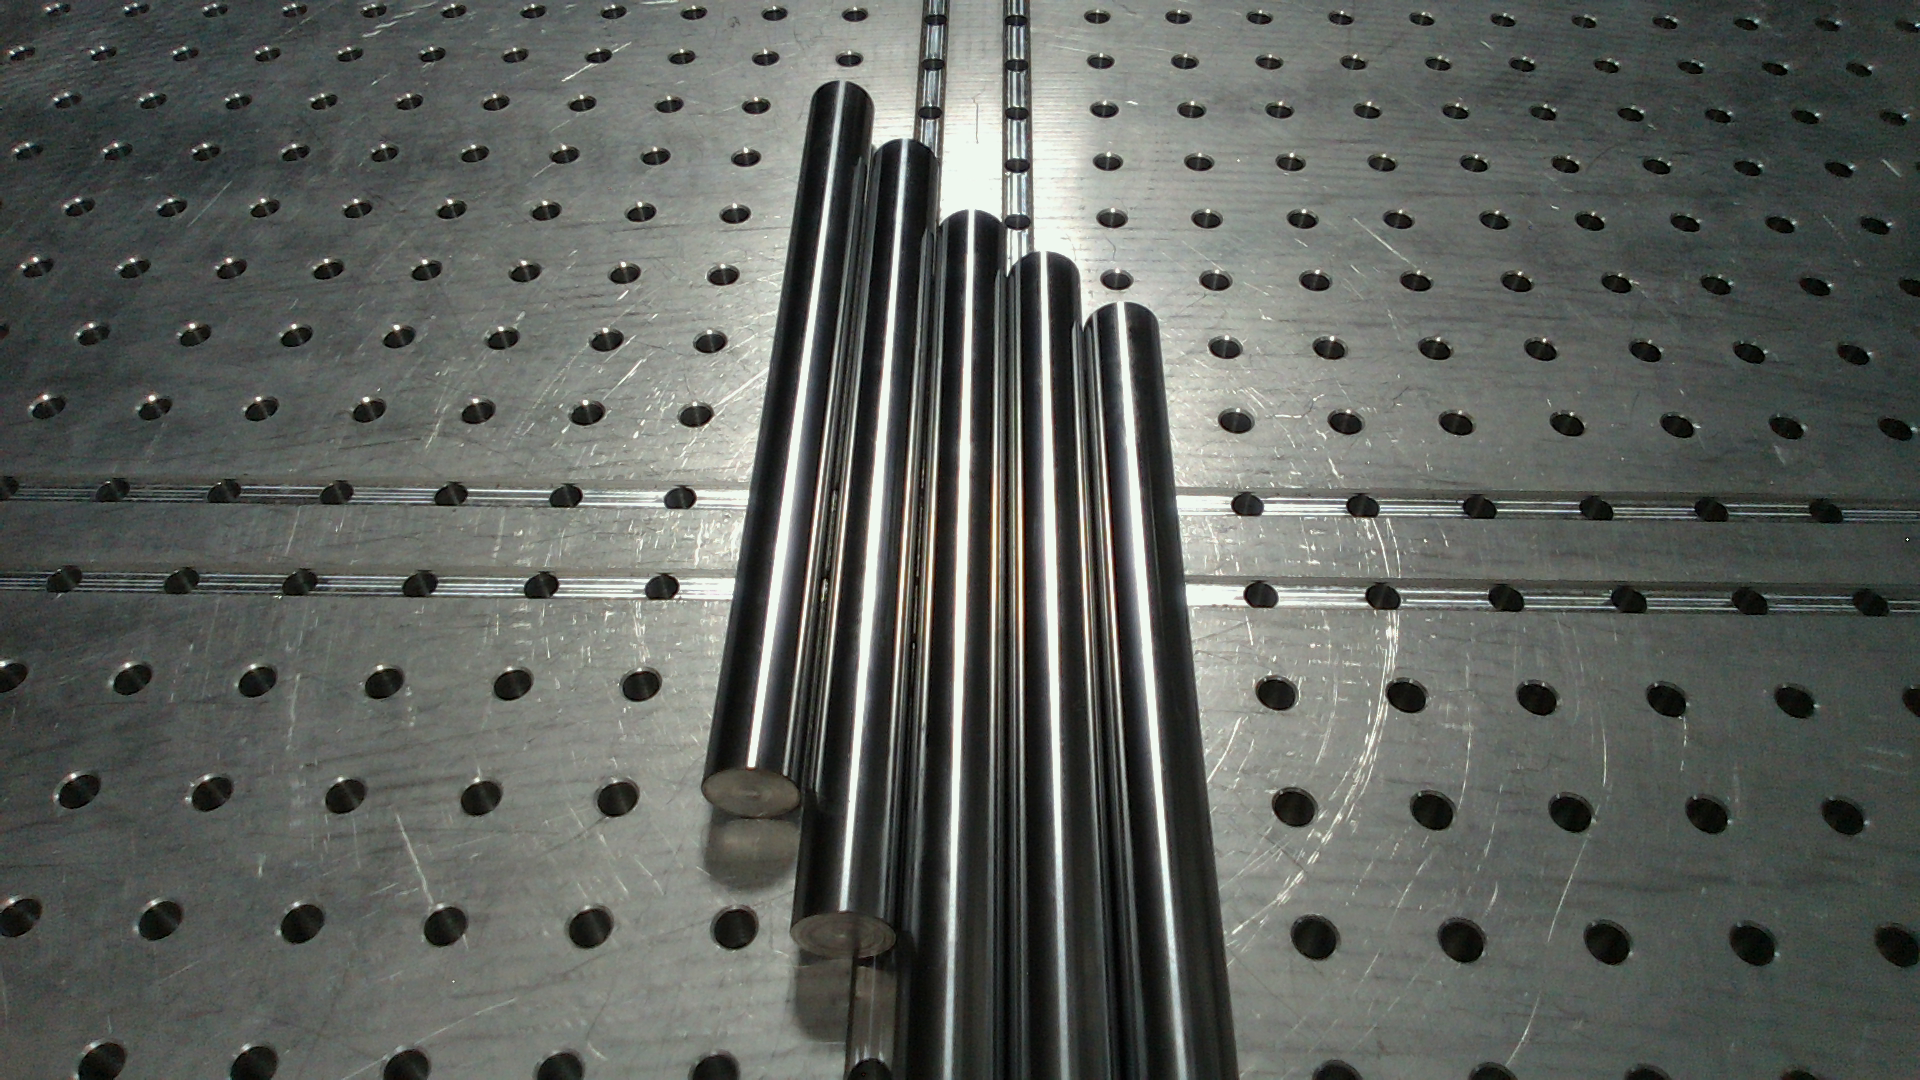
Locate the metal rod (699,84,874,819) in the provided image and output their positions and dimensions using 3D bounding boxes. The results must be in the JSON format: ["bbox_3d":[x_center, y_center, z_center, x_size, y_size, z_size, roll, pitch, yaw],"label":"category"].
[{"bbox_3d":[-0.049,-0.052,0.438,0.025,0.025,0.300,1,50,1],"label":"metal rod"}]

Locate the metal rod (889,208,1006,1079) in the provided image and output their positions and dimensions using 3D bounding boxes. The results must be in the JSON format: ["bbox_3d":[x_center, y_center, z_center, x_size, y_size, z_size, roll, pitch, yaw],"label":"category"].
[{"bbox_3d":[0.000,0.008,0.387,0.025,0.025,0.300,1,50,1],"label":"metal rod"}]

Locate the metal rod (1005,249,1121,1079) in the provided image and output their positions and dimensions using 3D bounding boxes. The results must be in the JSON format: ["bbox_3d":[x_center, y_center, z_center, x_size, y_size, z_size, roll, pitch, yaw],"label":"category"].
[{"bbox_3d":[0.025,0.025,0.372,0.025,0.025,0.300,1,50,1],"label":"metal rod"}]

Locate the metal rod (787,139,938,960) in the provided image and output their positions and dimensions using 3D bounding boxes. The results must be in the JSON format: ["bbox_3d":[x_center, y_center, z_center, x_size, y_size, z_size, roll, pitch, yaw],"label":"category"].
[{"bbox_3d":[-0.024,-0.023,0.413,0.025,0.025,0.300,1,50,1],"label":"metal rod"}]

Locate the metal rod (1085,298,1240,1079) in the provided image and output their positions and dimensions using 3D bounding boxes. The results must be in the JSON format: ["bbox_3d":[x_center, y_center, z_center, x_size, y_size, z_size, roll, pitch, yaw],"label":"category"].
[{"bbox_3d":[0.050,0.045,0.356,0.025,0.025,0.300,1,50,1],"label":"metal rod"}]
